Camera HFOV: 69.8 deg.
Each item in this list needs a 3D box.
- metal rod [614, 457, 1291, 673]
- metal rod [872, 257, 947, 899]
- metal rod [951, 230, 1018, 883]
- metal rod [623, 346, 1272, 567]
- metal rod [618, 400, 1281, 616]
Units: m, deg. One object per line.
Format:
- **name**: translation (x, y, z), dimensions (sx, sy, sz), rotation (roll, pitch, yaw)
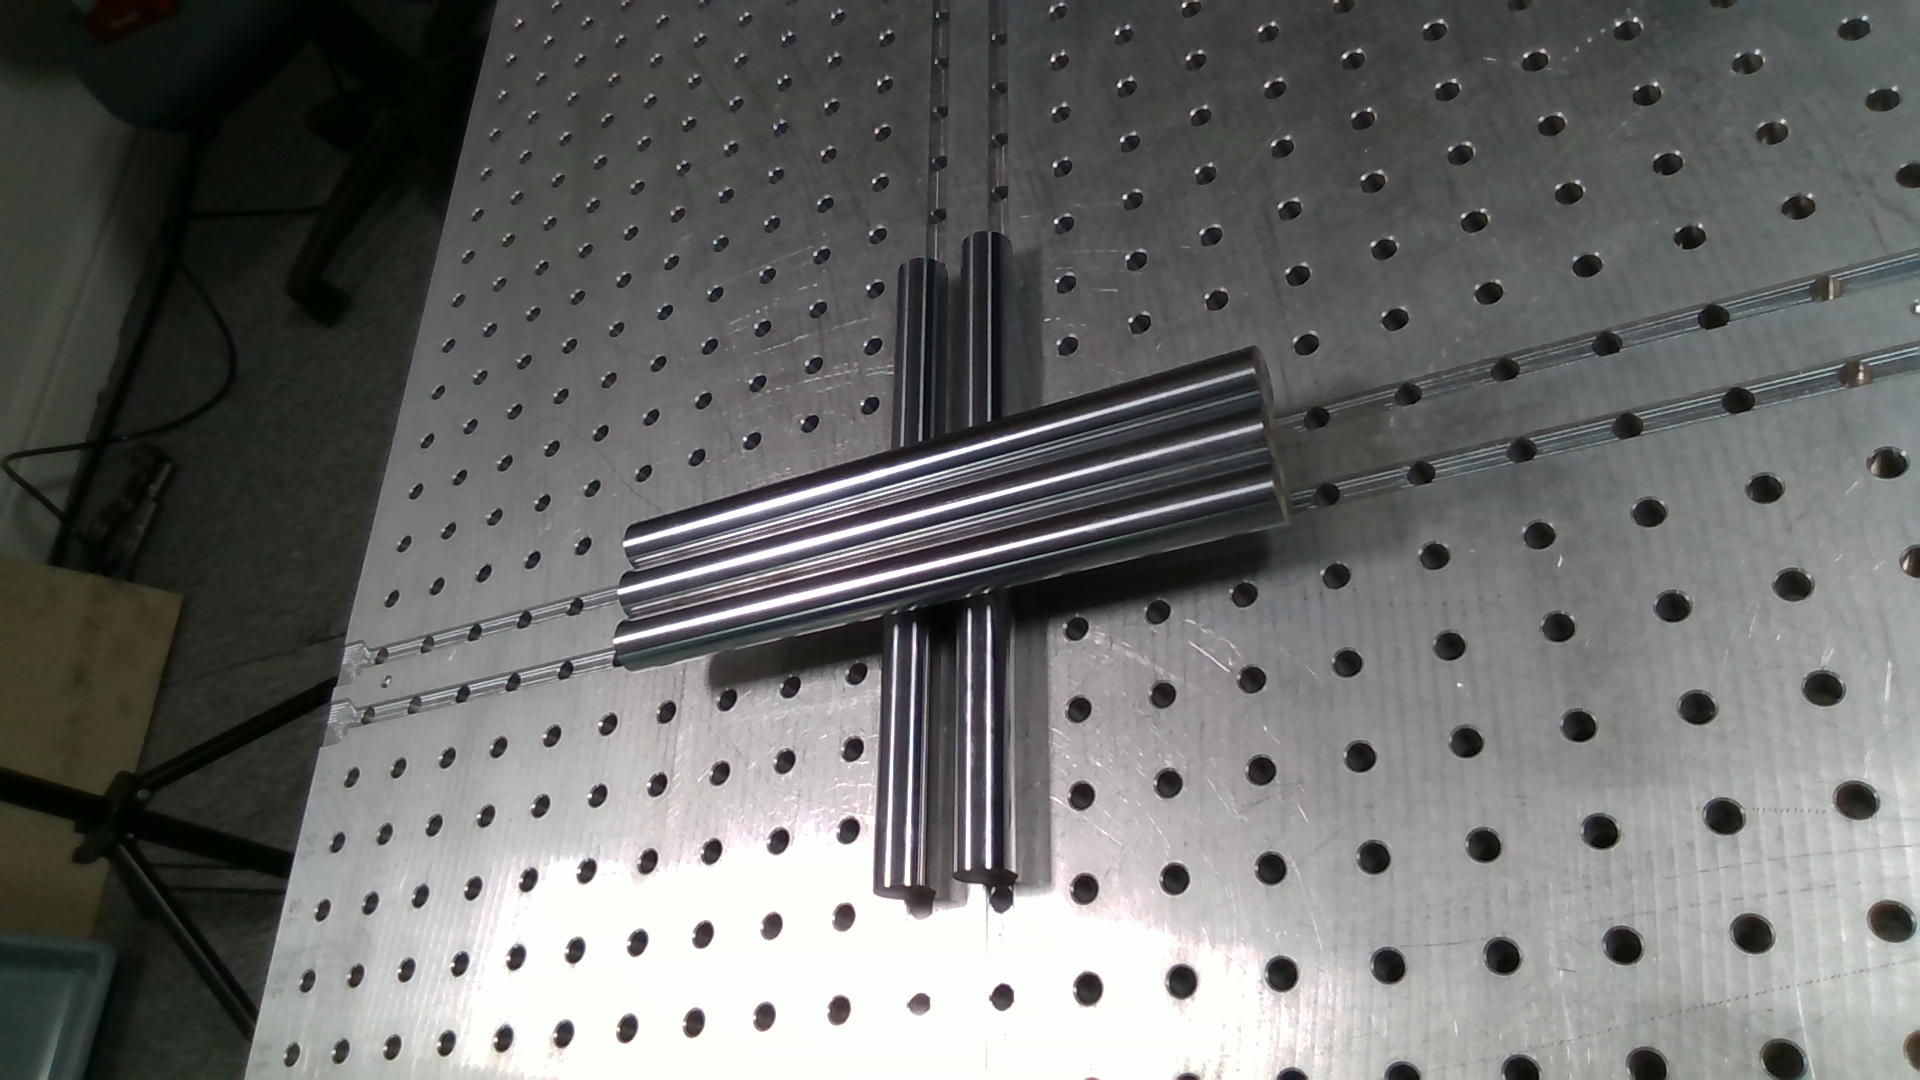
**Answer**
- **metal rod**: translation (-0.016, 0.015, 0.559), dimensions (0.300, 0.025, 0.025), rotation (-14, 59, 25)
- **metal rod**: translation (-0.020, 0.003, 0.599), dimensions (0.025, 0.025, 0.299), rotation (-14, 59, 25)
- **metal rod**: translation (0.011, -0.007, 0.586), dimensions (0.025, 0.025, 0.299), rotation (-14, 59, 25)
- **metal rod**: translation (-0.018, -0.029, 0.583), dimensions (0.300, 0.025, 0.025), rotation (-14, 59, 25)
- **metal rod**: translation (-0.017, -0.007, 0.571), dimensions (0.300, 0.025, 0.025), rotation (-14, 59, 25)
